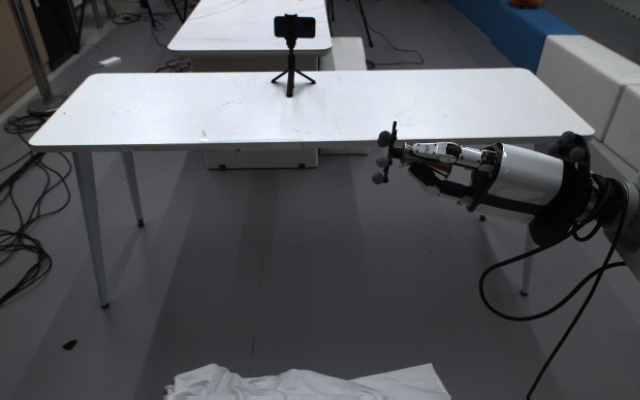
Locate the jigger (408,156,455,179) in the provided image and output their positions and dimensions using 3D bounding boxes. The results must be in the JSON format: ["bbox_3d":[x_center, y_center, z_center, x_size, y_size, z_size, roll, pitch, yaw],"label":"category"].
[{"bbox_3d":[0.154,-0.063,0.675,0.071,0.043,0.043,11,35,3],"label":"jigger"}]
